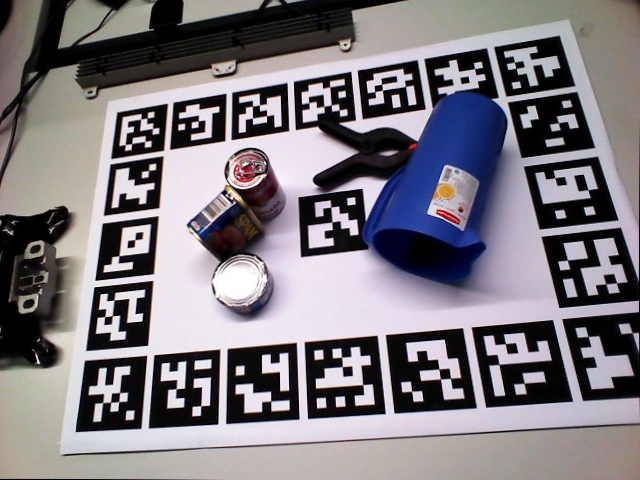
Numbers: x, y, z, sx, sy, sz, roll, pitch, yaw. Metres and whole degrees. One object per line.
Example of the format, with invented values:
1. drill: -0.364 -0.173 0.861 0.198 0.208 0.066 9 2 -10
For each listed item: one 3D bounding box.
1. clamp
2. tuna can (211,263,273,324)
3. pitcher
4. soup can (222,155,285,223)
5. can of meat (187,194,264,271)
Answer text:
1. clamp: 0.060 -0.130 0.816 0.166 0.036 0.121 -4 63 7
2. tuna can: -0.113 0.079 0.758 0.086 0.034 0.085 -4 69 11
3. pitcher: 0.165 -0.066 0.698 0.190 0.133 0.241 4 60 38
4. soup can: -0.099 -0.074 0.782 0.068 0.102 0.067 -5 69 13
5. can of meat: -0.142 -0.007 0.760 0.084 0.102 0.058 -41 67 -2
